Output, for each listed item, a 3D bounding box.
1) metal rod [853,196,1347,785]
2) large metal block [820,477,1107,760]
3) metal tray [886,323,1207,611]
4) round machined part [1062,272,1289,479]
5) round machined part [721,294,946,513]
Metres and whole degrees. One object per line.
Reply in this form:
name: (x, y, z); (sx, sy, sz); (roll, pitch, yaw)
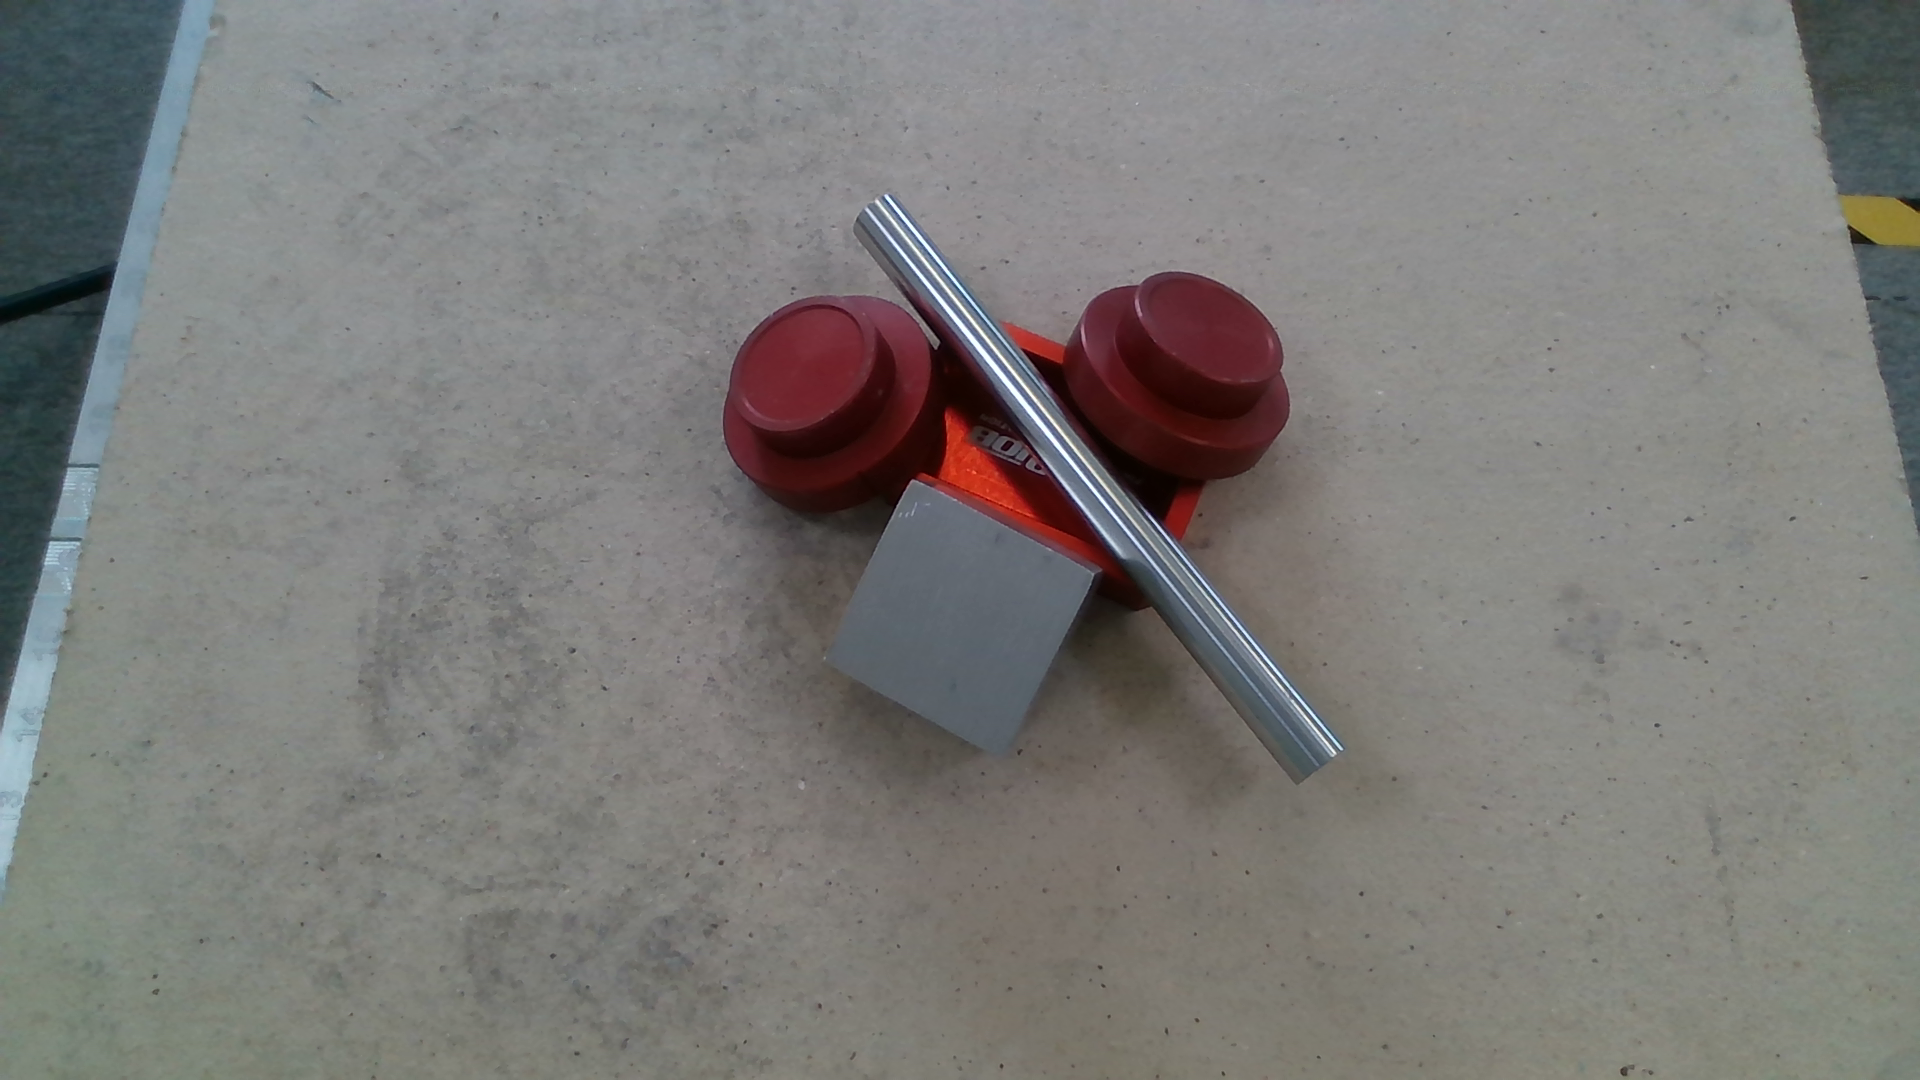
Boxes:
metal rod: (0.051, -0.028, 0.567); (0.025, 0.025, 0.299); (-34, 74, -11)
large metal block: (0.003, 0.029, 0.550); (0.080, 0.050, 0.080); (28, 97, 9)
metal tray: (0.040, -0.036, 0.599); (0.130, 0.030, 0.090); (23, 72, 8)
round machined part: (0.096, -0.076, 0.585); (0.098, 0.042, 0.098); (13, 47, -14)
round machined part: (-0.059, -0.064, 0.584); (0.098, 0.042, 0.098); (-10, 61, 18)
